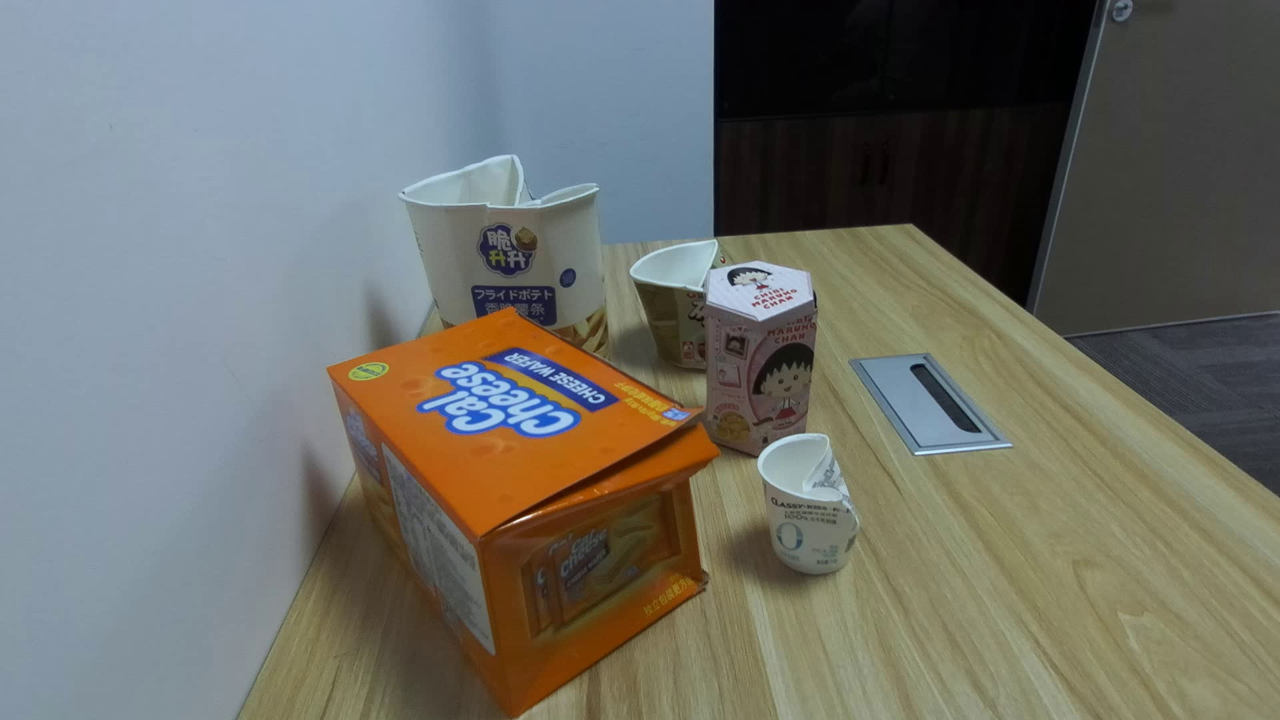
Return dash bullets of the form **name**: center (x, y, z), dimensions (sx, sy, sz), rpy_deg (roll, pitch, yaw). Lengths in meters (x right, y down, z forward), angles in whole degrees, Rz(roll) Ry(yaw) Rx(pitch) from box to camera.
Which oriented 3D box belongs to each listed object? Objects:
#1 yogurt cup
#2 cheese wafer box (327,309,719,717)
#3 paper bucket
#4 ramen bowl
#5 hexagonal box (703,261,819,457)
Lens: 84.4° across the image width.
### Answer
- **yogurt cup**: center (0.108, 0.094, 0.453), dimensions (0.067, 0.070, 0.067), rpy_deg (-3, 31, 2)
- **cheese wafer box**: center (-0.078, 0.072, 0.453), dimensions (0.150, 0.137, 0.226), rpy_deg (-23, 34, -32)
- **paper bucket**: center (-0.099, -0.071, 0.658), dimensions (0.162, 0.202, 0.169), rpy_deg (15, 35, 27)
- **ramen bowl**: center (0.061, -0.056, 0.718), dimensions (0.137, 0.098, 0.137), rpy_deg (-2, 27, 1)
- **hexagonal box**: center (0.094, -0.002, 0.566), dimensions (0.092, 0.135, 0.084), rpy_deg (-13, 31, -18)
